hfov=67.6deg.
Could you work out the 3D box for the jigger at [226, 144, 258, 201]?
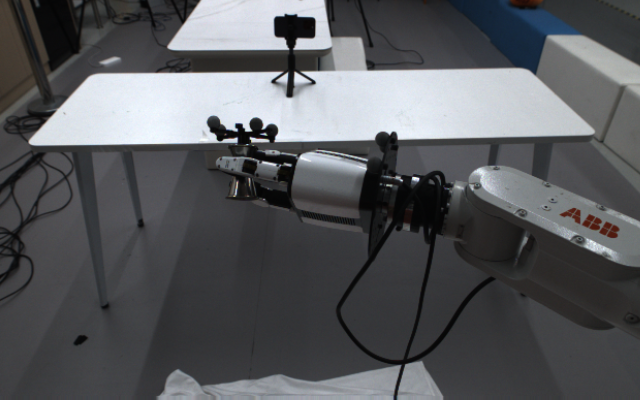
[{"bbox_3d":[-0.101,-0.035,0.626,0.043,0.071,0.043,0,-5,0],"label":"jigger"}]
